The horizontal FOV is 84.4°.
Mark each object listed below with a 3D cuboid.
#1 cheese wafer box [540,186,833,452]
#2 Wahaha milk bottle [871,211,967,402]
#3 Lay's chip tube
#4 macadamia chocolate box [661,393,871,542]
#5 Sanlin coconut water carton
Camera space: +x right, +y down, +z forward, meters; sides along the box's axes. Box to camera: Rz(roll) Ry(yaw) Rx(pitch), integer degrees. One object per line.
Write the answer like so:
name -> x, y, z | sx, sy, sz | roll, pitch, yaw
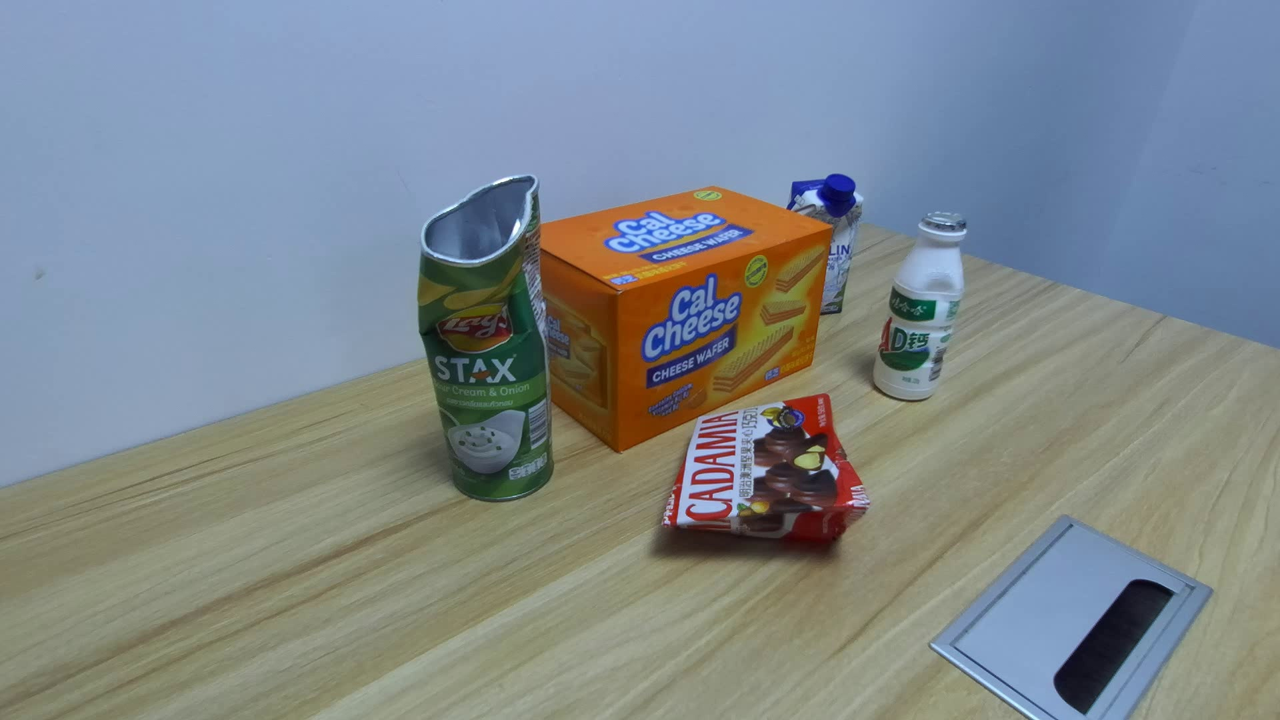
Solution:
cheese wafer box -> 0.026, -0.047, 0.578 | 0.223, 0.129, 0.147 | -21, 36, -33
Wahaha milk bottle -> 0.222, -0.035, 0.557 | 0.053, 0.137, 0.053 | 3, 27, -1
Lay's chip tube -> -0.089, -0.003, 0.429 | 0.079, 0.199, 0.070 | -13, 40, -20
macadamia chocolate box -> 0.074, 0.068, 0.445 | 0.112, 0.056, 0.126 | 5, 29, 4
Sanlin coconut water carton -> 0.175, -0.115, 0.692 | 0.078, 0.142, 0.057 | -8, 36, -16
